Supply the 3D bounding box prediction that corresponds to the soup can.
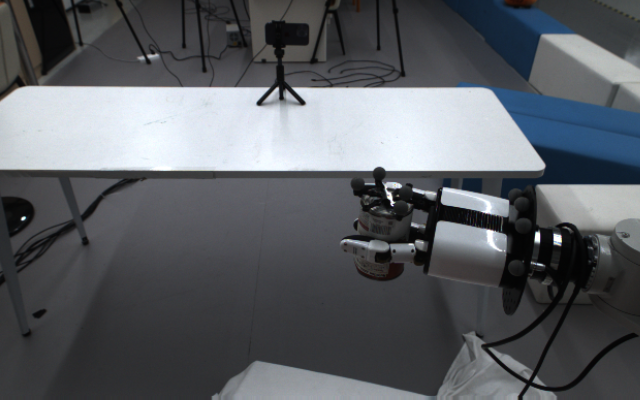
[{"bbox_3d":[0.082,0.044,0.621,0.067,0.101,0.067,2,32,-1],"label":"soup can"}]
